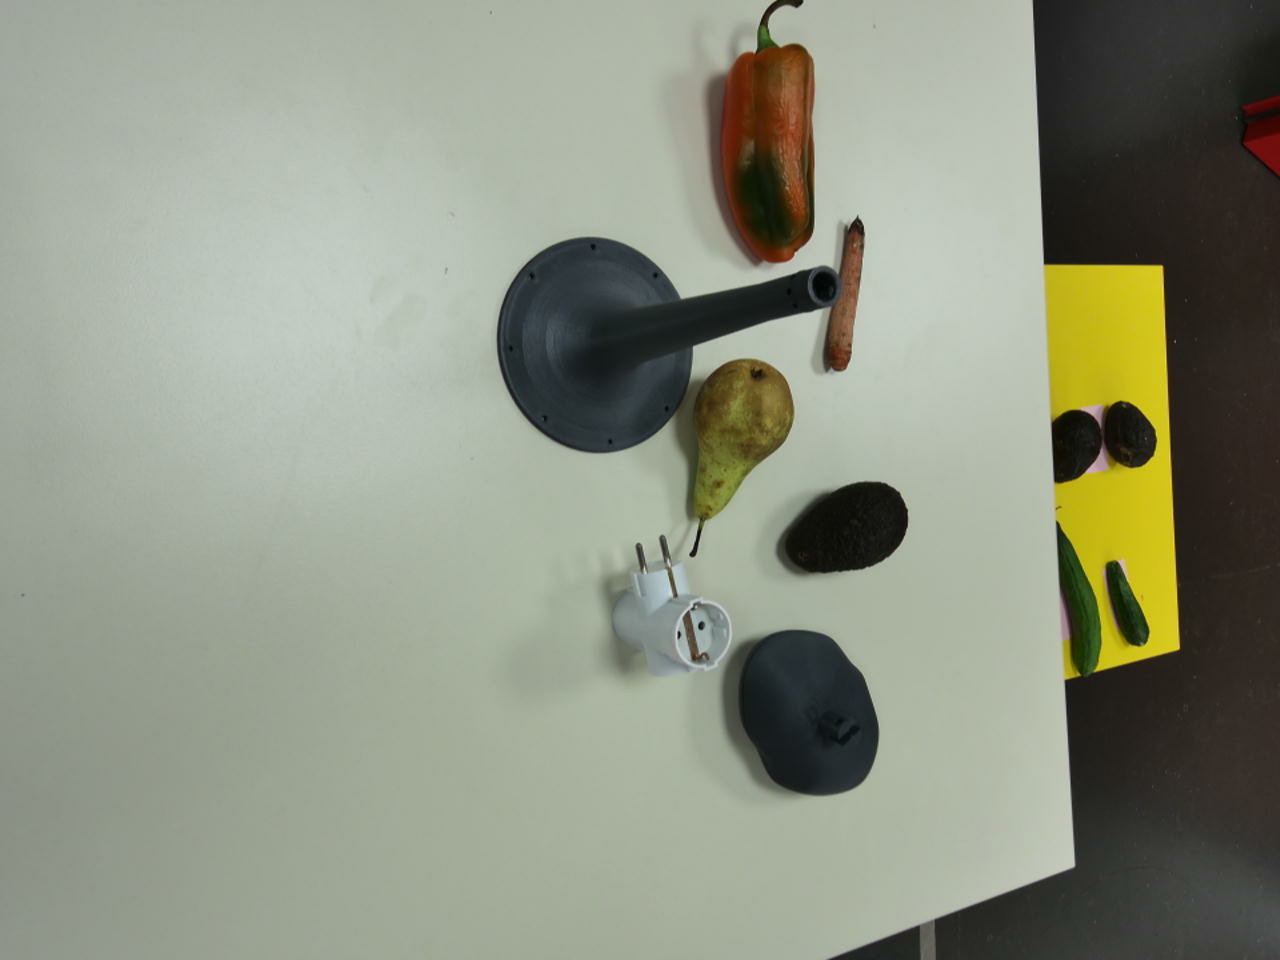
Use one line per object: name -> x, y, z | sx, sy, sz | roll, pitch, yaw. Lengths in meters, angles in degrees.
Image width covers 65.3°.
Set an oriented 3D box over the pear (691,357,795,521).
pear -> 0.074, -0.017, 0.731 | 0.071, 0.075, 0.144 | 5, 89, -28
